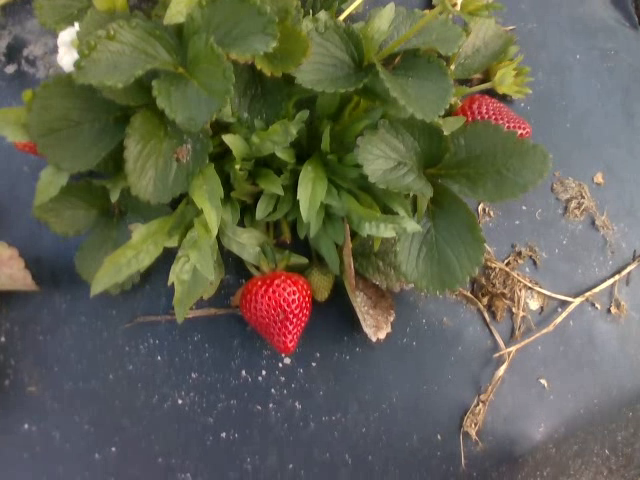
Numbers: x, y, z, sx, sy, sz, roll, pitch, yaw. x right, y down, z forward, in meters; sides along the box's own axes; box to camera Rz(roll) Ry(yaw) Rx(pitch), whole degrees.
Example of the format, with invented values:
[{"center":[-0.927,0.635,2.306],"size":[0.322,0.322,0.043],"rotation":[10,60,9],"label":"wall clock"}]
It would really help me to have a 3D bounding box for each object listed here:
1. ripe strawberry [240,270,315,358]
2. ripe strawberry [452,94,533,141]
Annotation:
[{"center":[-0.023,0.040,0.341],"size":[0.043,0.051,0.043],"rotation":[-13,-12,-10],"label":"ripe strawberry"},{"center":[0.099,-0.064,0.365],"size":[0.046,0.043,0.046],"rotation":[7,11,16],"label":"ripe strawberry"}]
